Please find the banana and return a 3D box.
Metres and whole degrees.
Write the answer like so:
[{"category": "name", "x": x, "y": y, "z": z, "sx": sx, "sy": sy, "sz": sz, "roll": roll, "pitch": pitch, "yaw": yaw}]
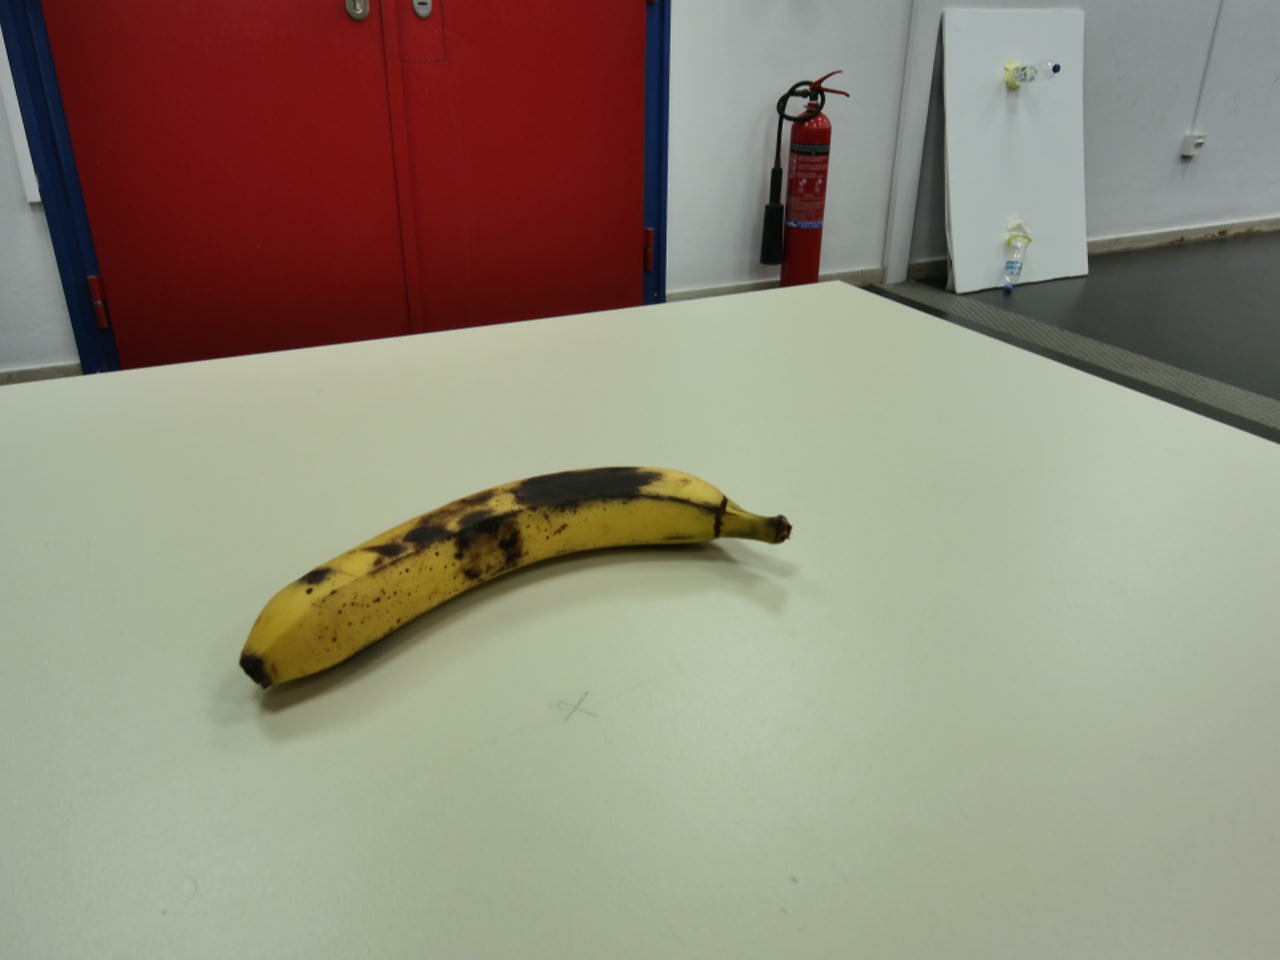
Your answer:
[{"category": "banana", "x": -0.051, "y": 0.028, "z": 0.410, "sx": 0.222, "sy": 0.037, "sz": 0.084, "roll": -11, "pitch": 26, "yaw": -24}]
